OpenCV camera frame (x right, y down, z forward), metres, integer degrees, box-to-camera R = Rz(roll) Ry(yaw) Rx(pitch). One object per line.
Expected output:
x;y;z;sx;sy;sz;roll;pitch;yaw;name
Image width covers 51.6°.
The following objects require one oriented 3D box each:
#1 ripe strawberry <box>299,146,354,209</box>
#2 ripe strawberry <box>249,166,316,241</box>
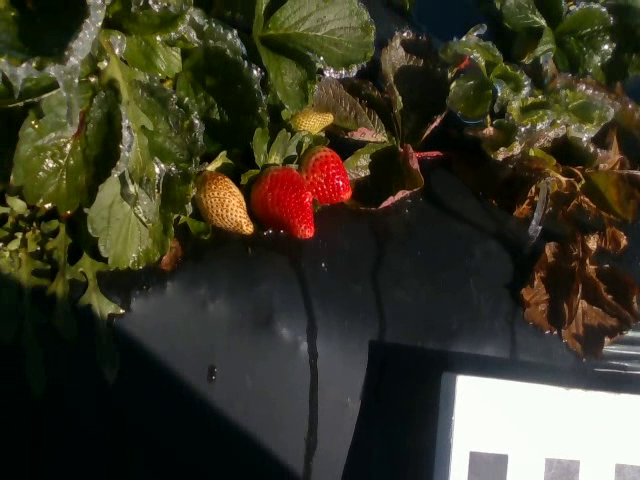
0.005;-0.037;0.389;0.041;0.036;0.030;34;-15;-3;ripe strawberry
-0.016;-0.015;0.362;0.036;0.040;0.052;-31;54;-18;ripe strawberry
